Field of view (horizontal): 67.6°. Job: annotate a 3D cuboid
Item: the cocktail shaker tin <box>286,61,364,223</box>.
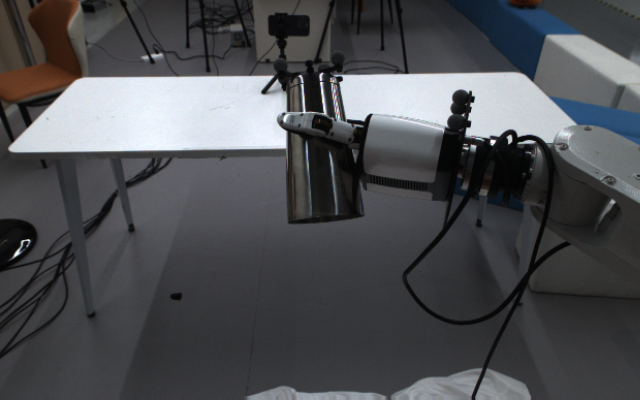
[{"bbox_3d":[0.000,-0.060,0.585,0.093,0.170,0.093,-7,-7,-1],"label":"cocktail shaker tin"}]
